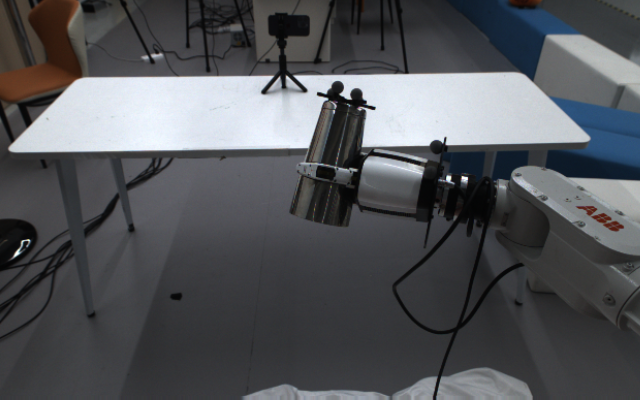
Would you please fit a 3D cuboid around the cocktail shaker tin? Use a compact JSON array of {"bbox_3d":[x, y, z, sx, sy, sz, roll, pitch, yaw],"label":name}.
[{"bbox_3d":[0.018,-0.054,0.714,0.093,0.170,0.093,13,4,-1],"label":"cocktail shaker tin"}]
